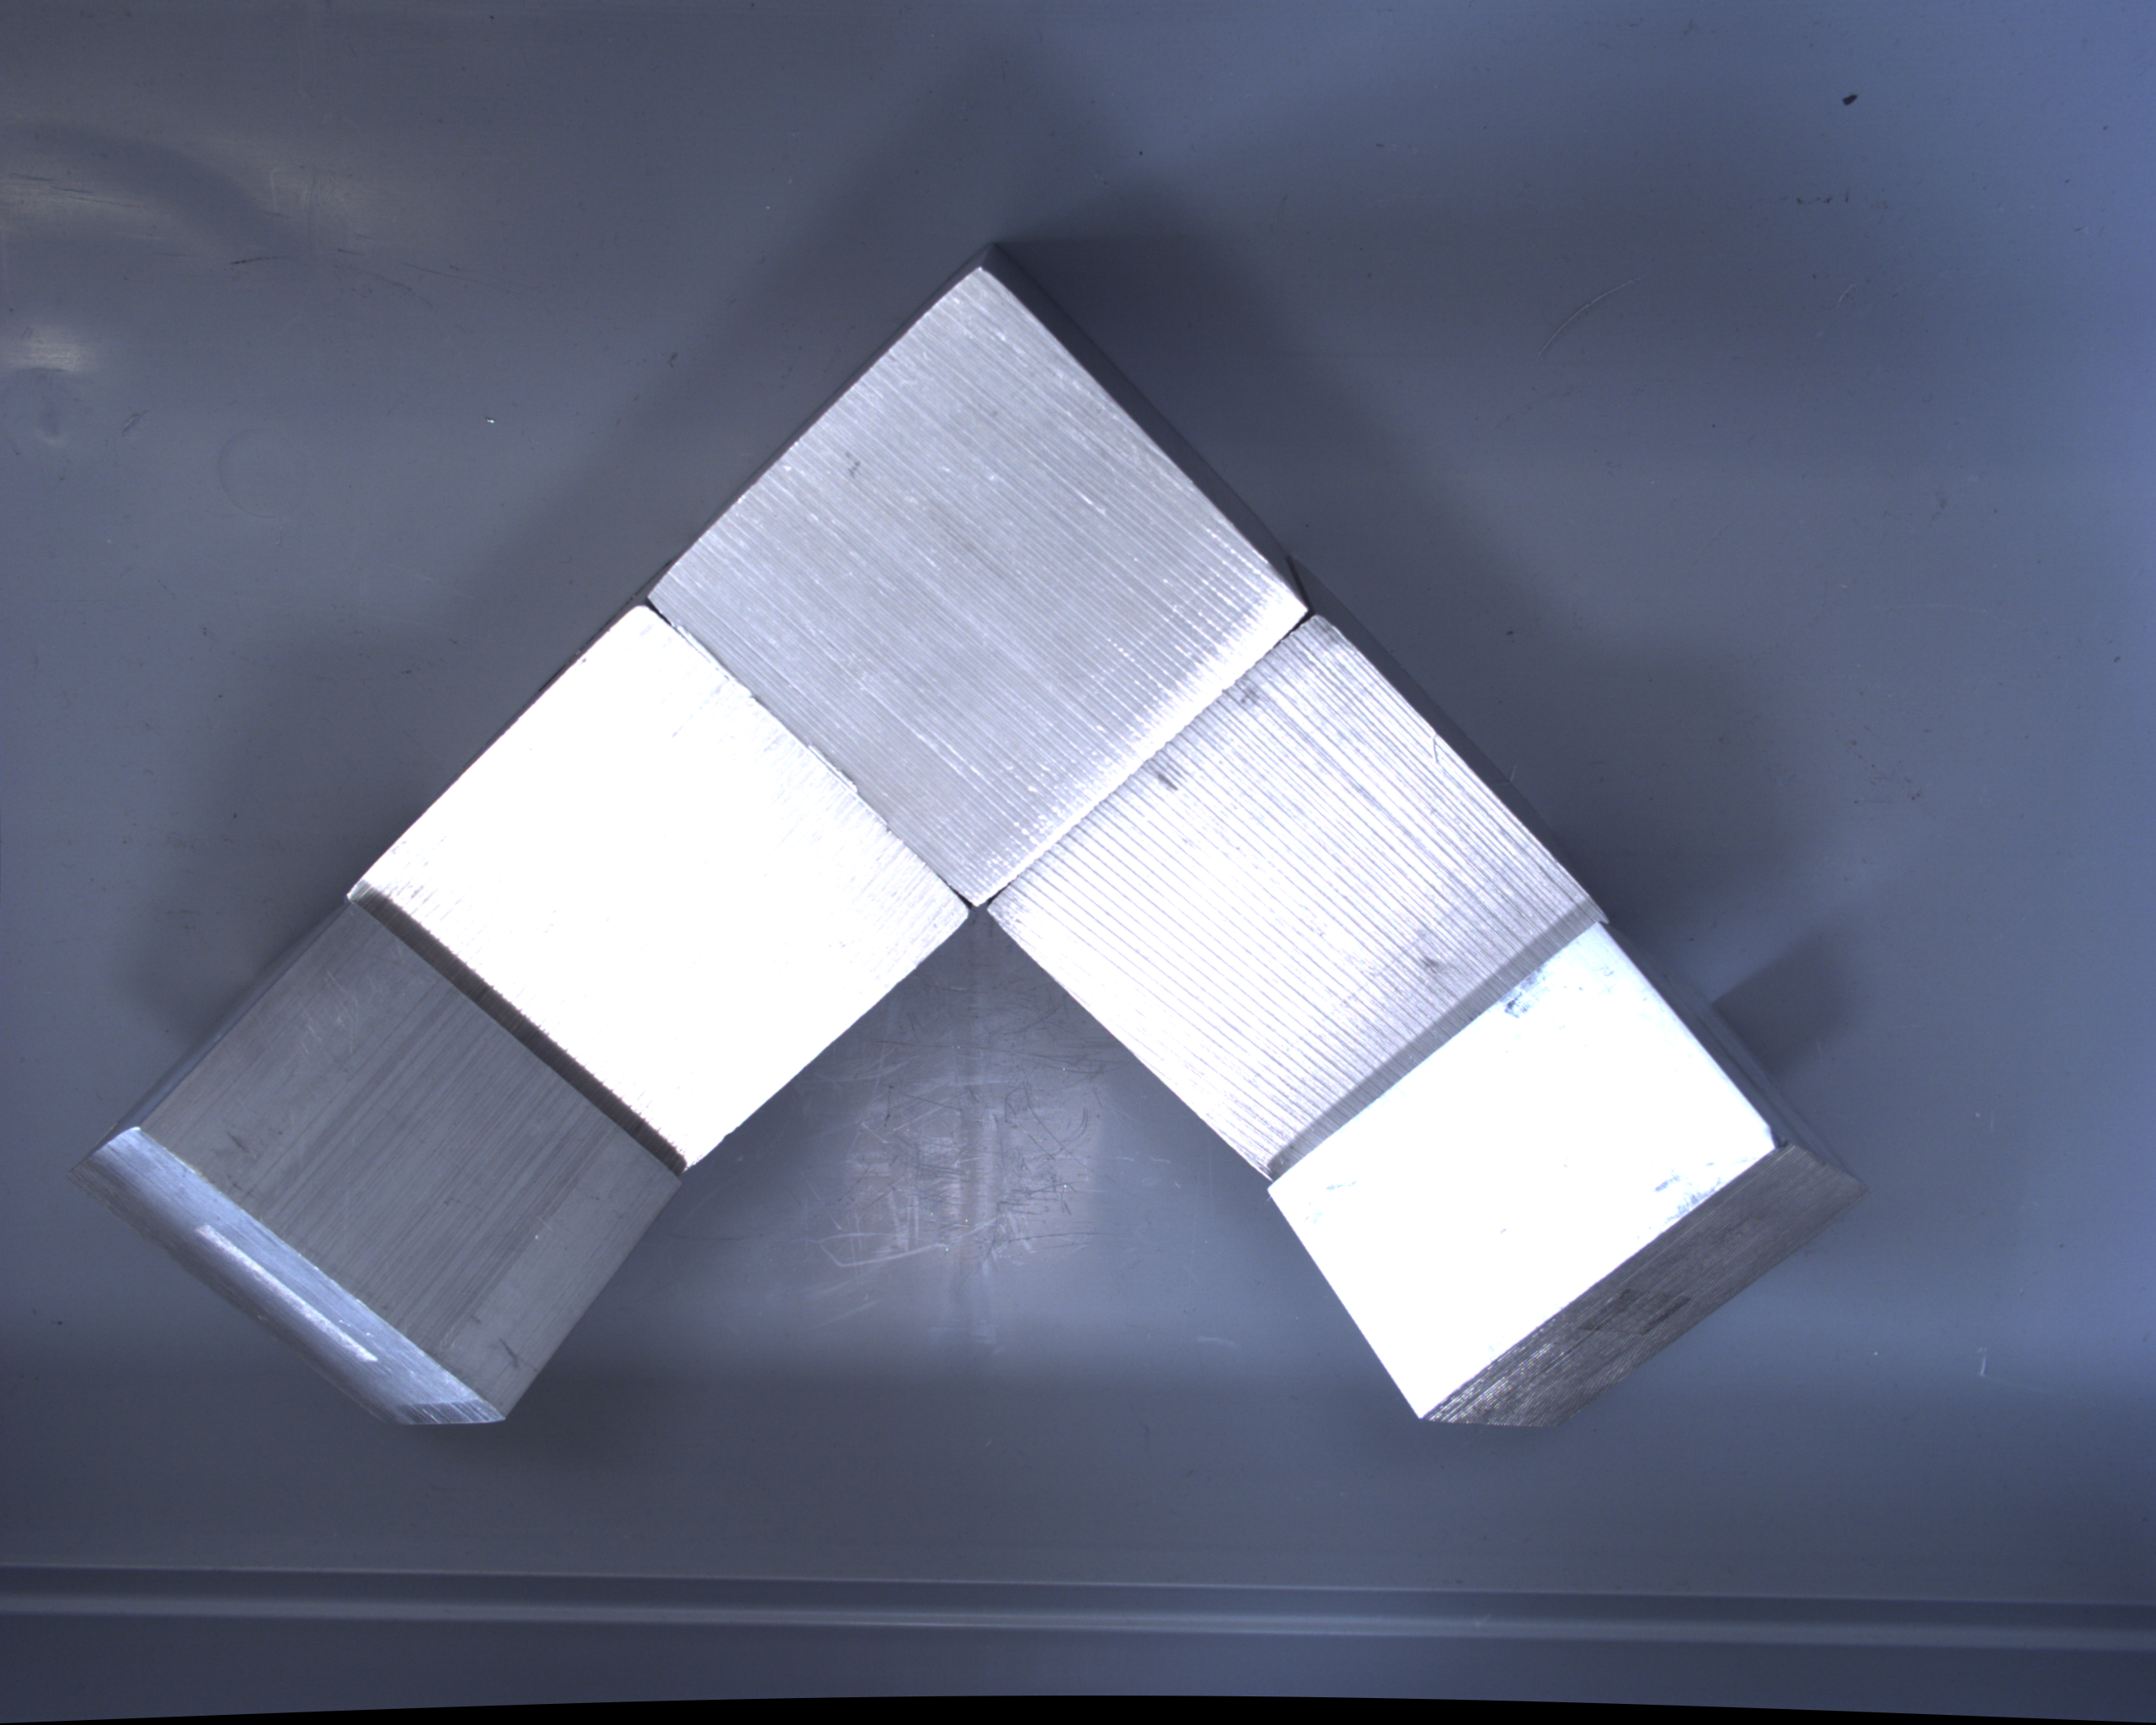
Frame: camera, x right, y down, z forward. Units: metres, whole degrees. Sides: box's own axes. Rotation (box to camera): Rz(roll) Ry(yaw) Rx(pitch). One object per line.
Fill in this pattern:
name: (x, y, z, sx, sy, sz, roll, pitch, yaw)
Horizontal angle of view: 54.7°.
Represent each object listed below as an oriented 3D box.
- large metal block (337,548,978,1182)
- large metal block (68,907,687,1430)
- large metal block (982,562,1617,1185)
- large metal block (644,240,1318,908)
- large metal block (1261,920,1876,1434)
large metal block: (-0.075, -0.001, 0.395, 0.080, 0.050, 0.080, -42, 105, 14)
large metal block: (-0.134, 0.061, 0.394, 0.080, 0.050, 0.080, 44, 147, -15)
large metal block: (0.040, 0.001, 0.397, 0.080, 0.050, 0.080, -42, 105, 14)
large metal block: (-0.016, -0.053, 0.376, 0.080, 0.050, 0.080, -42, 105, 14)
large metal block: (0.095, 0.064, 0.398, 0.080, 0.050, 0.080, -42, 148, 14)
